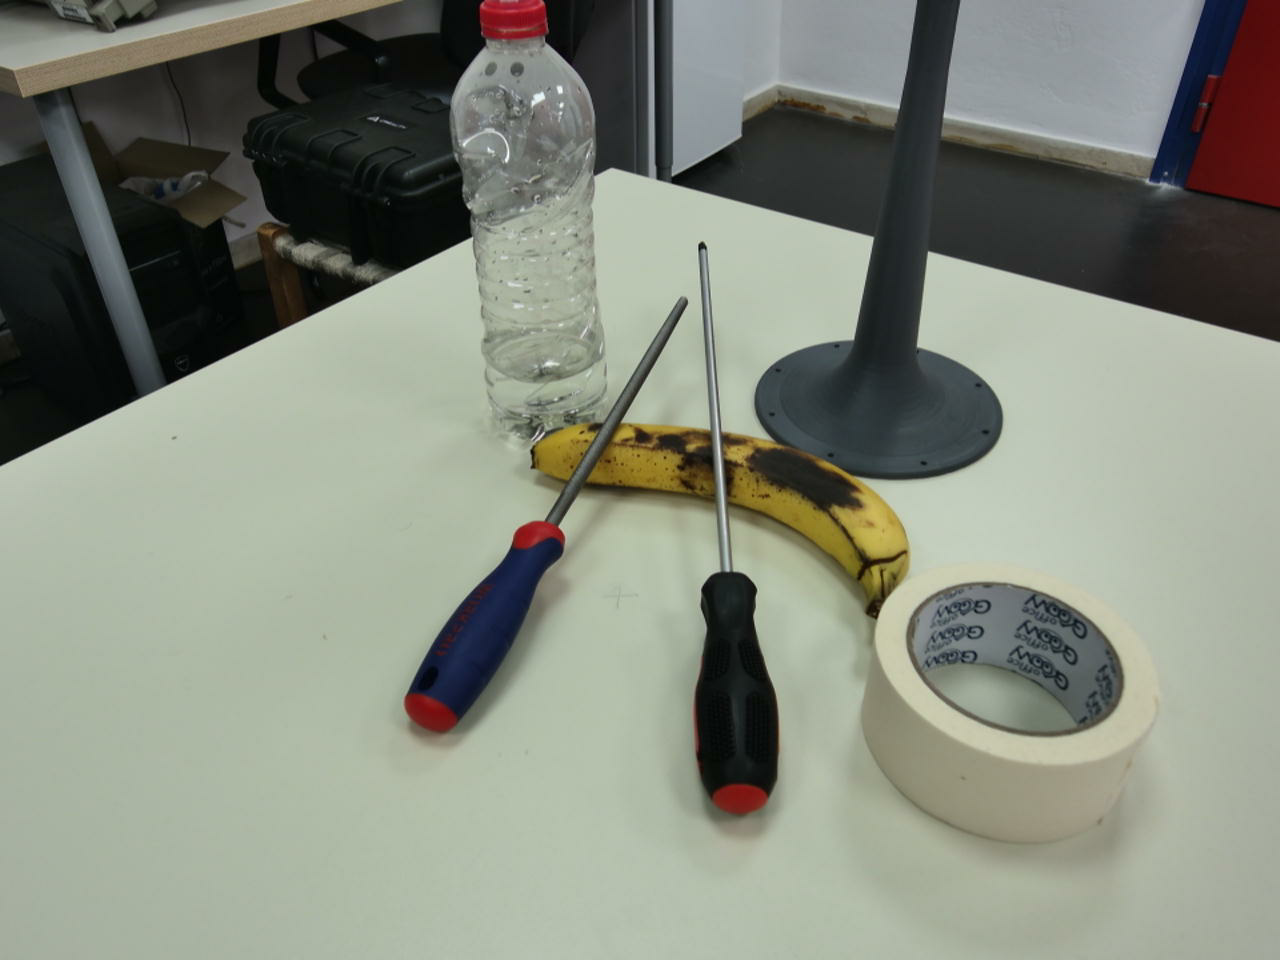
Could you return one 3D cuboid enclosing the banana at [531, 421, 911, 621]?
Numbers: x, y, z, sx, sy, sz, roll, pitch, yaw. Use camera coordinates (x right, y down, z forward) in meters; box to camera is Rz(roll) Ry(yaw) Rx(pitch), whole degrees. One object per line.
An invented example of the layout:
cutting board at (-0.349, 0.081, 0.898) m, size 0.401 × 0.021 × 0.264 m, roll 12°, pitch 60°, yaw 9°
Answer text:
banana at (0.048, 0.004, 0.525) m, size 0.222 × 0.037 × 0.084 m, roll 25°, pitch 44°, yaw 30°
